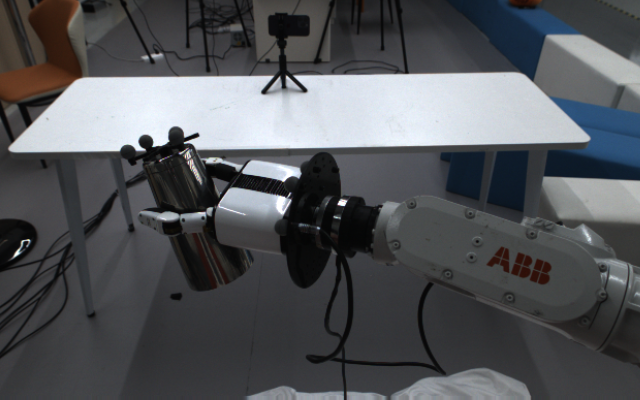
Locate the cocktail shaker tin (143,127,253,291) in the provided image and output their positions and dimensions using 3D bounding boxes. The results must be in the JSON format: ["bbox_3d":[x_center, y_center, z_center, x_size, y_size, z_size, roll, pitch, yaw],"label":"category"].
[{"bbox_3d":[-0.157,0.020,0.614,0.093,0.170,0.093,-17,20,7],"label":"cocktail shaker tin"}]
